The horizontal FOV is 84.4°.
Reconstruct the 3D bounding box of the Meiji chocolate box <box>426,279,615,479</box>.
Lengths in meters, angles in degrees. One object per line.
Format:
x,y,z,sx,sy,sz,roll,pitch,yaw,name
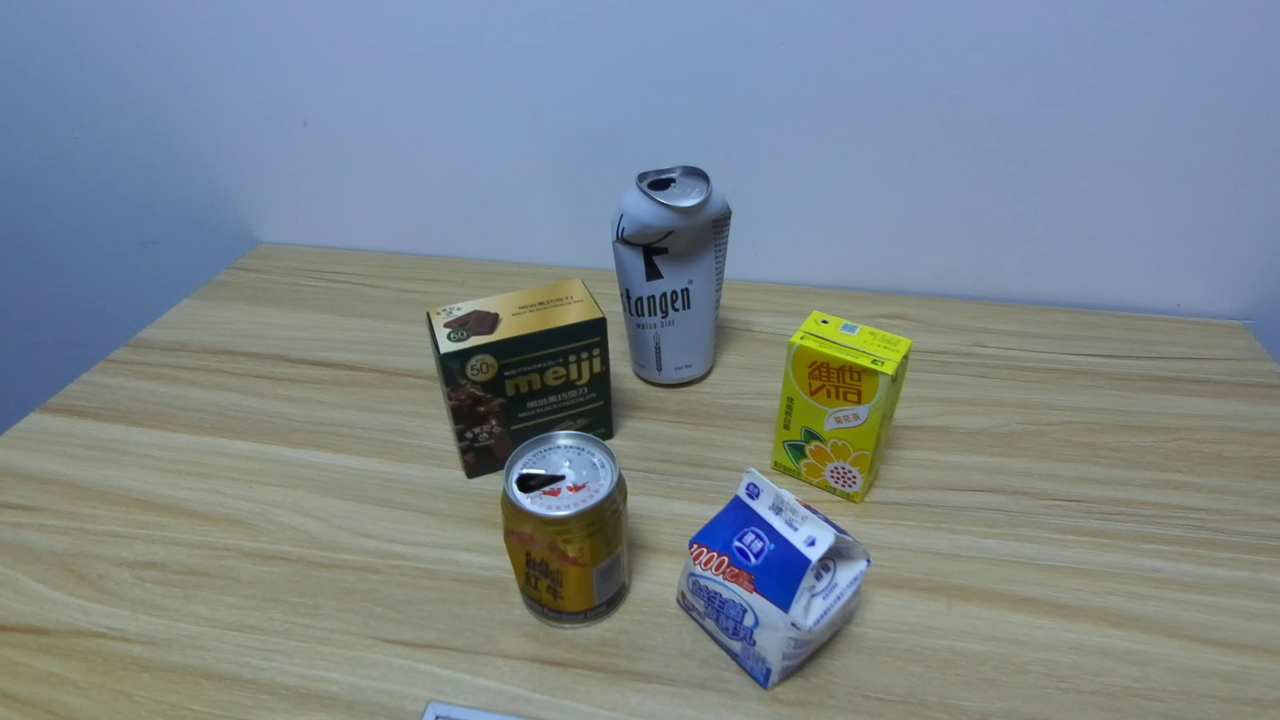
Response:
-0.078,0.012,0.484,0.110,0.109,0.056,-14,40,-16,Meiji chocolate box

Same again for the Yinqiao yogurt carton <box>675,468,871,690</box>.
0.071,0.103,0.366,0.077,0.093,0.083,-26,42,-29,Yinqiao yogurt carton

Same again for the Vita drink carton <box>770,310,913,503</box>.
0.126,0.030,0.449,0.066,0.109,0.044,21,43,27,Vita drink carton

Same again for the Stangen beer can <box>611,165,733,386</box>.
0.024,-0.058,0.528,0.065,0.162,0.077,19,42,24,Stangen beer can

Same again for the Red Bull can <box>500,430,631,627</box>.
-0.039,0.092,0.387,0.069,0.092,0.069,-1,37,1,Red Bull can
